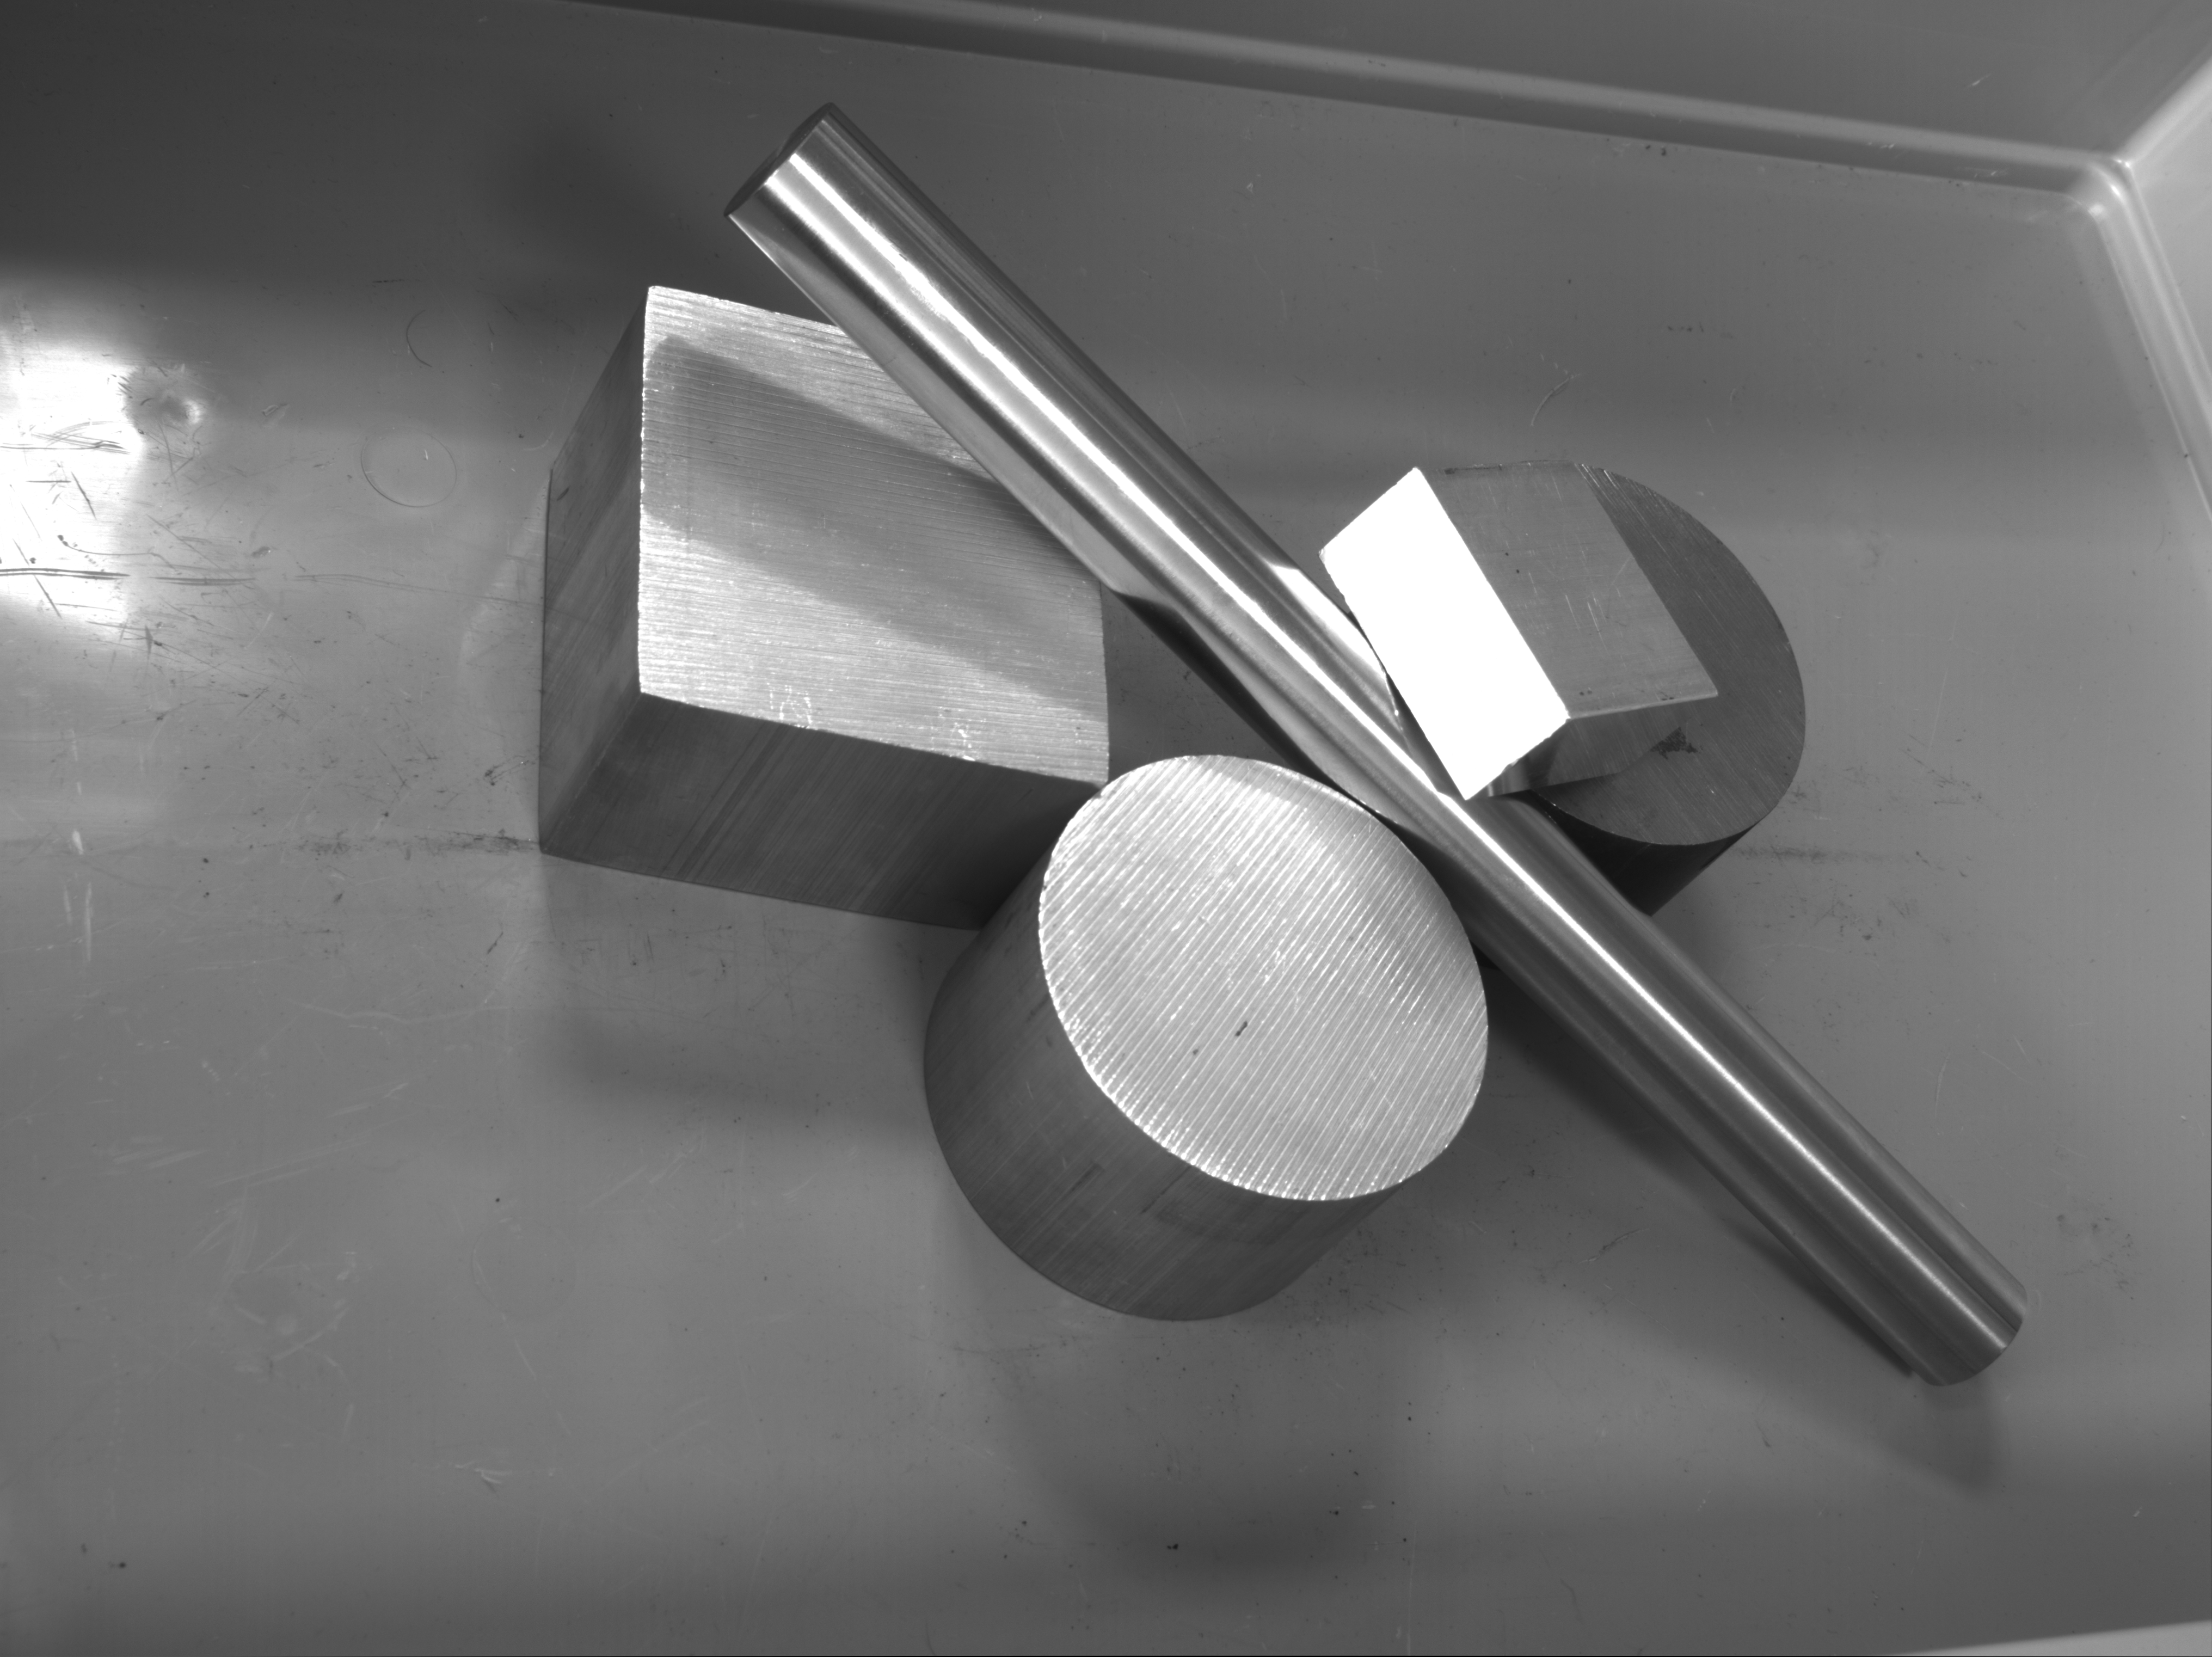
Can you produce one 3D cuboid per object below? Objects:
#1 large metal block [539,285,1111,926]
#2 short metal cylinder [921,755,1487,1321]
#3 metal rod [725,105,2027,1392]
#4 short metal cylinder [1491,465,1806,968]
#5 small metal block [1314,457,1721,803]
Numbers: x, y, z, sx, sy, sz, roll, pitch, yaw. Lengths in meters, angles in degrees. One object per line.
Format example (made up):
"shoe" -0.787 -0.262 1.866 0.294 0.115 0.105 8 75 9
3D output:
"large metal block" -0.048 -0.036 0.616 0.080 0.050 0.080 11 57 -22
"short metal cylinder" 0.016 0.035 0.609 0.080 0.050 0.080 13 56 -21
"metal rod" 0.053 -0.007 0.625 0.300 0.025 0.025 44 50 -16
"short metal cylinder" 0.081 -0.020 0.678 0.080 0.050 0.080 13 56 -21
"small metal block" 0.070 -0.035 0.623 0.050 0.025 0.050 -11 65 -52
